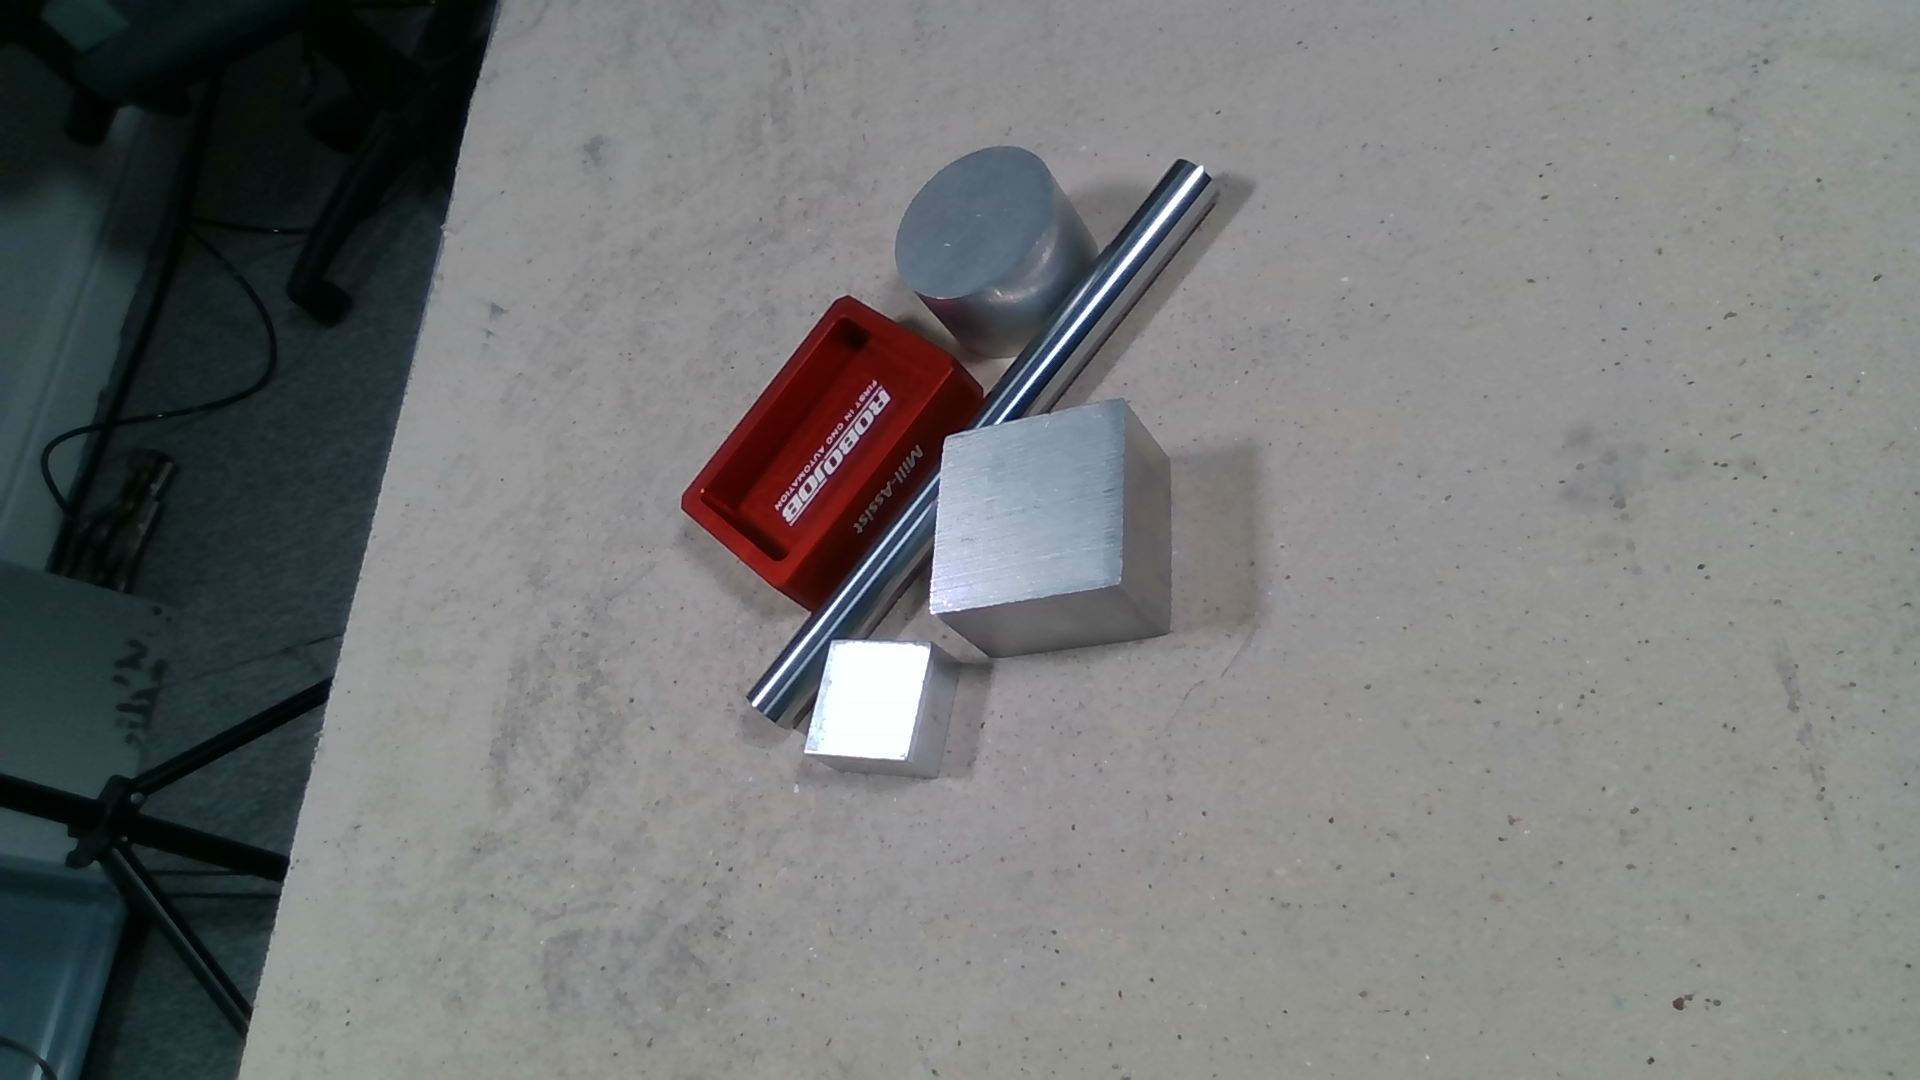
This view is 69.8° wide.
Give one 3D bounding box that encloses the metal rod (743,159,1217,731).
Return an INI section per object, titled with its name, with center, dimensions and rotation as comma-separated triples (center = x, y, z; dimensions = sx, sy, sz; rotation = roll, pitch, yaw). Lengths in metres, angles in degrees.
[metal rod]
center = 0.009, -0.042, 0.601
dimensions = 0.300, 0.025, 0.025
rotation = -51, 51, -2

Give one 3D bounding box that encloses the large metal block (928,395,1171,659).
[large metal block]
center = 0.037, -0.003, 0.548
dimensions = 0.080, 0.050, 0.080
rotation = -10, 61, 27

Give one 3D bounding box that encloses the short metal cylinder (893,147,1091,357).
[short metal cylinder]
center = 0.017, -0.130, 0.628
dimensions = 0.080, 0.050, 0.080
rotation = -14, 59, 25

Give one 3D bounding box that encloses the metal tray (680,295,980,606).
[metal tray]
center = -0.062, -0.043, 0.643
dimensions = 0.090, 0.030, 0.130
rotation = 36, 87, 39

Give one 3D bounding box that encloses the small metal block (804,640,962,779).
[small metal block]
center = -0.032, 0.070, 0.569
dimensions = 0.050, 0.025, 0.050
rotation = -2, 65, 31
